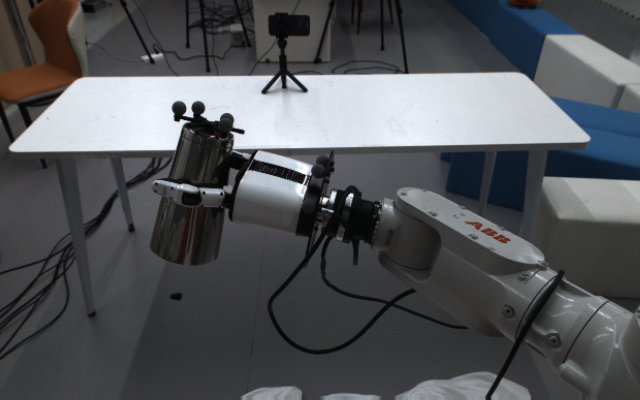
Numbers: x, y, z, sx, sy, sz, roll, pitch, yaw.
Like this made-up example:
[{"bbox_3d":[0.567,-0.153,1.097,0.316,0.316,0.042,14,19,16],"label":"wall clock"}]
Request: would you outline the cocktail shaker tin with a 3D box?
[{"bbox_3d":[-0.164,-0.011,0.638,0.093,0.170,0.093,14,17,-5],"label":"cocktail shaker tin"}]
